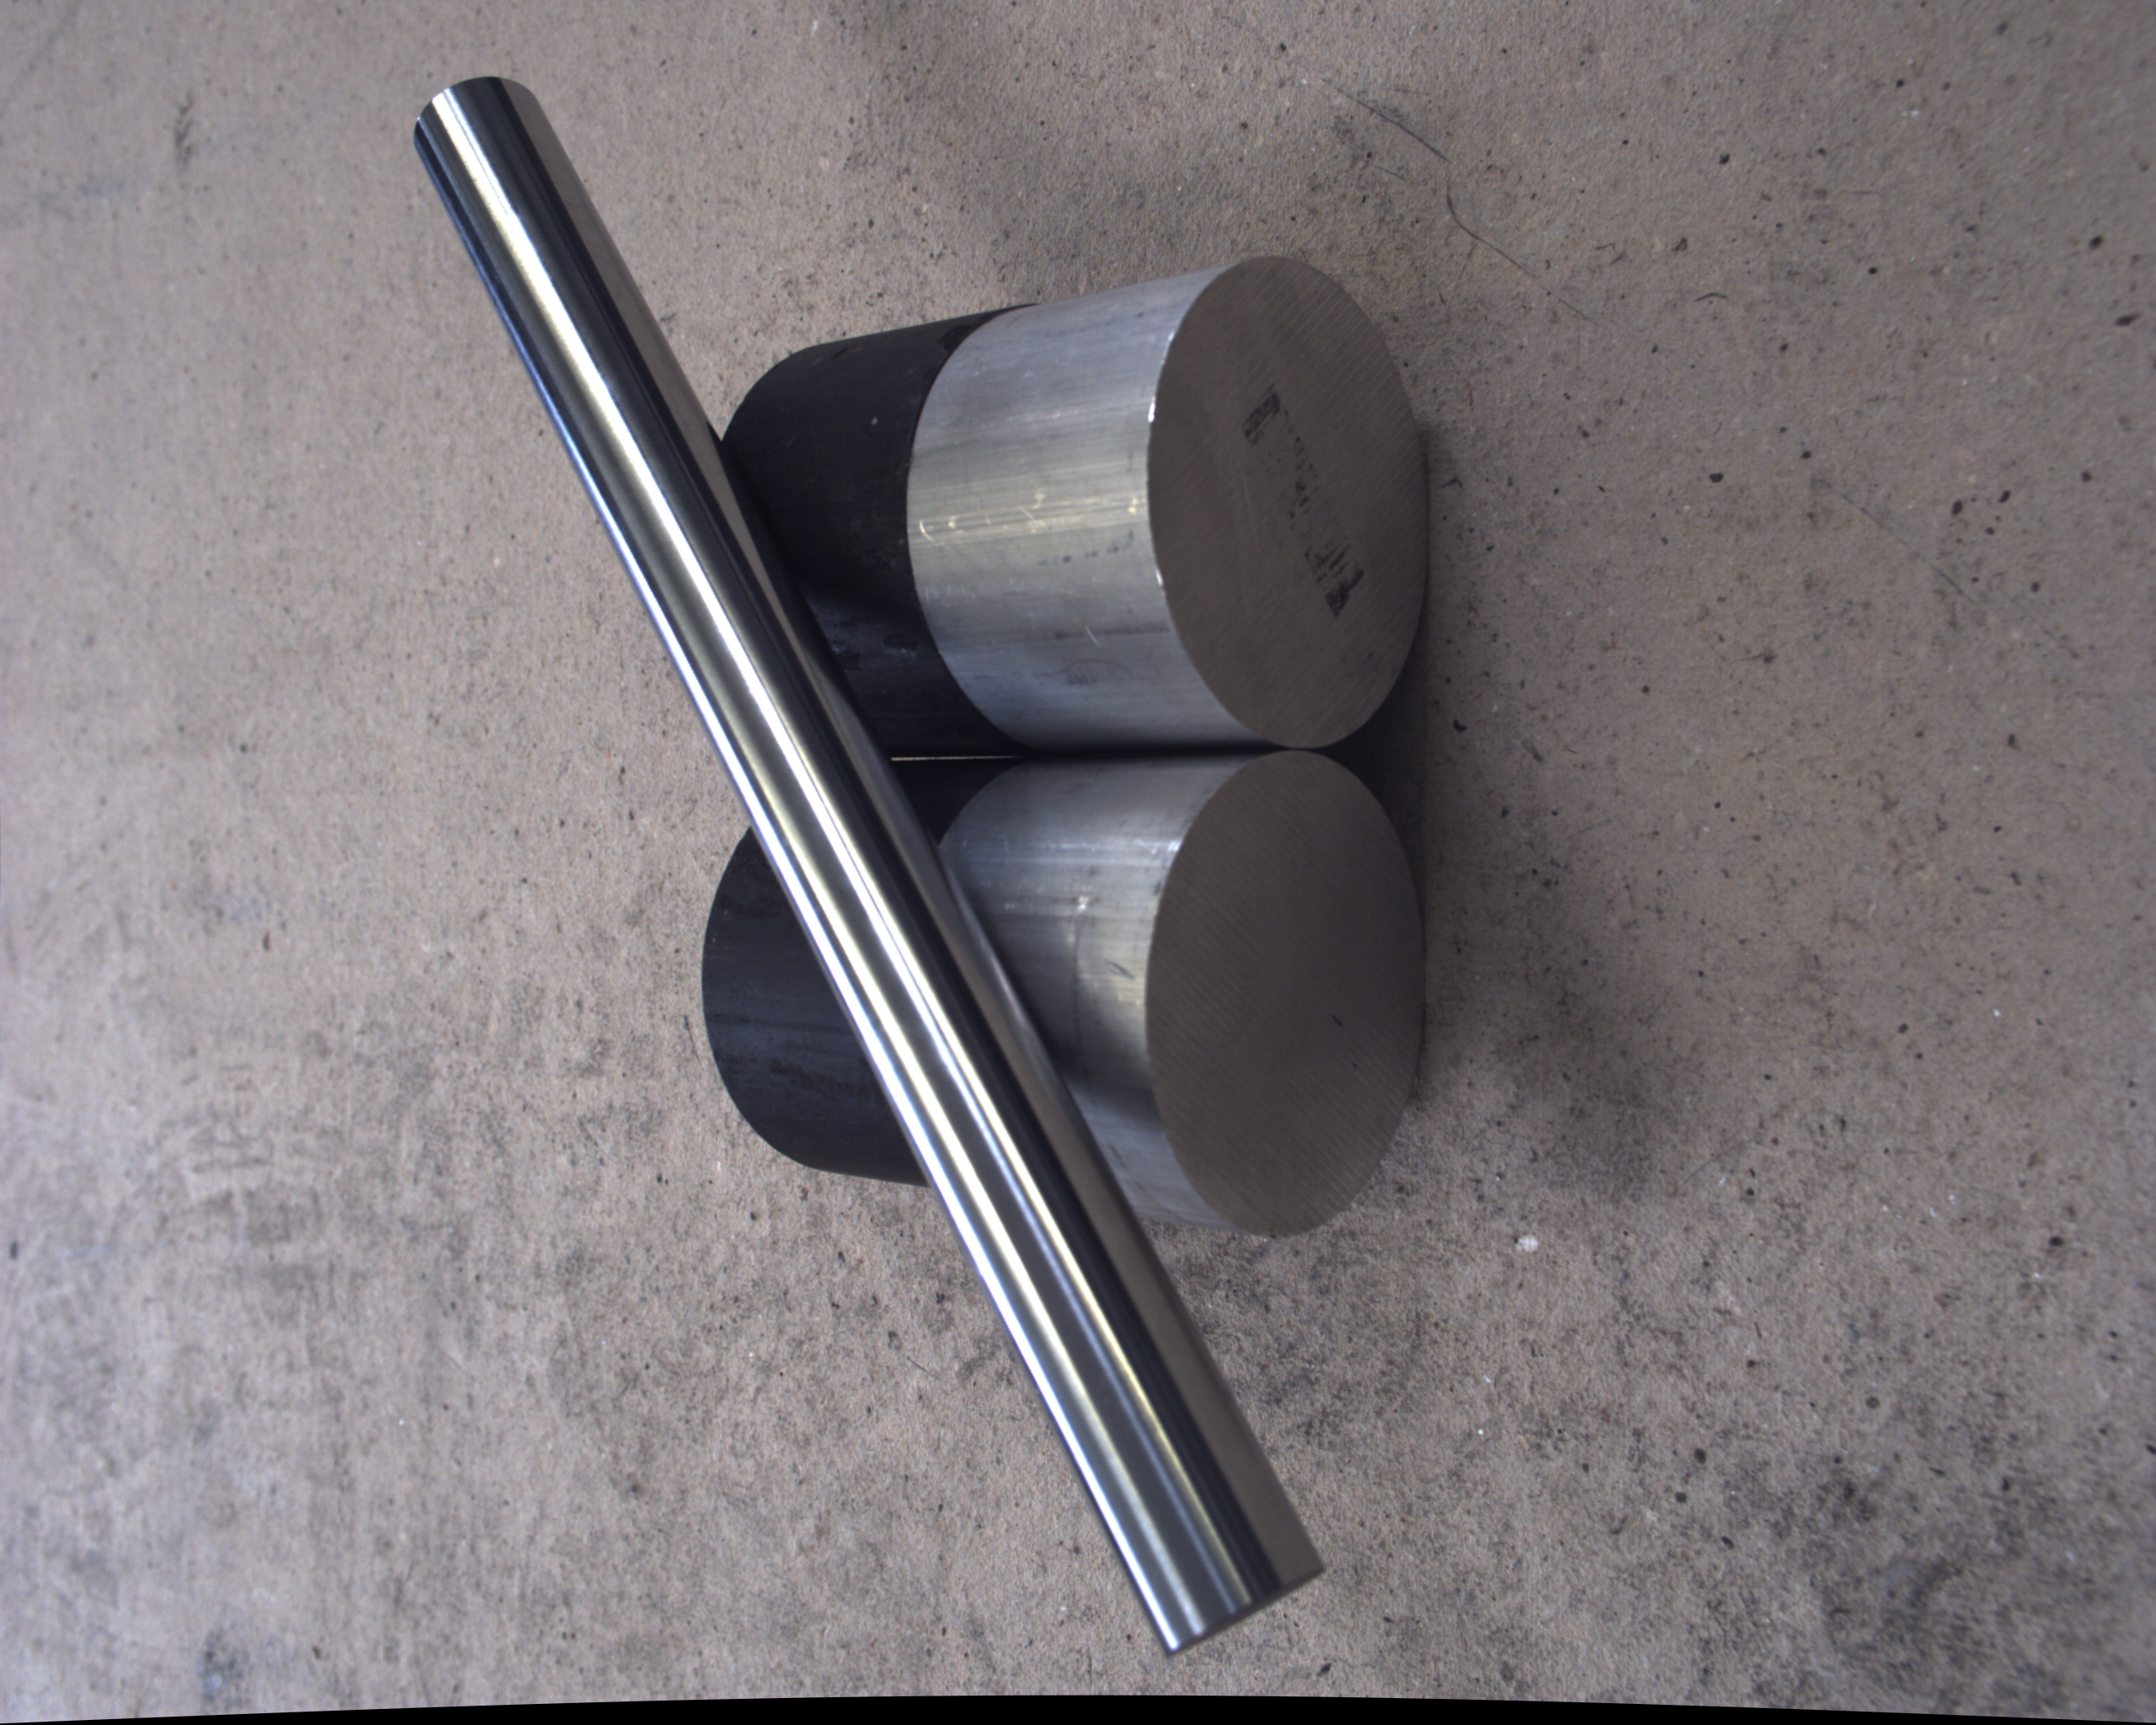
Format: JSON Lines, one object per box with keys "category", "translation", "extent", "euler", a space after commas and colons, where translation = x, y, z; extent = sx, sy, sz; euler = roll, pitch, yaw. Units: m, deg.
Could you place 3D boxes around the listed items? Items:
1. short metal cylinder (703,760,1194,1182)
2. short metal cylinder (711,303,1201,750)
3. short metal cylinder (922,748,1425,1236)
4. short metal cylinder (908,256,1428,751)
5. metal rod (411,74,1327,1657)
{"category": "short metal cylinder", "translation": [-0.022, 0.021, 0.389], "extent": [0.050, 0.081, 0.079], "euler": [1, 91, 40]}
{"category": "short metal cylinder", "translation": [-0.021, -0.060, 0.389], "extent": [0.050, 0.081, 0.079], "euler": [1, 91, 40]}
{"category": "short metal cylinder", "translation": [0.017, 0.021, 0.357], "extent": [0.050, 0.081, 0.079], "euler": [1, 91, 40]}
{"category": "short metal cylinder", "translation": [0.017, -0.059, 0.357], "extent": [0.050, 0.081, 0.079], "euler": [1, 91, 40]}
{"category": "metal rod", "translation": [-0.046, -0.019, 0.340], "extent": [0.025, 0.025, 0.299], "euler": [-44, 64, 31]}
